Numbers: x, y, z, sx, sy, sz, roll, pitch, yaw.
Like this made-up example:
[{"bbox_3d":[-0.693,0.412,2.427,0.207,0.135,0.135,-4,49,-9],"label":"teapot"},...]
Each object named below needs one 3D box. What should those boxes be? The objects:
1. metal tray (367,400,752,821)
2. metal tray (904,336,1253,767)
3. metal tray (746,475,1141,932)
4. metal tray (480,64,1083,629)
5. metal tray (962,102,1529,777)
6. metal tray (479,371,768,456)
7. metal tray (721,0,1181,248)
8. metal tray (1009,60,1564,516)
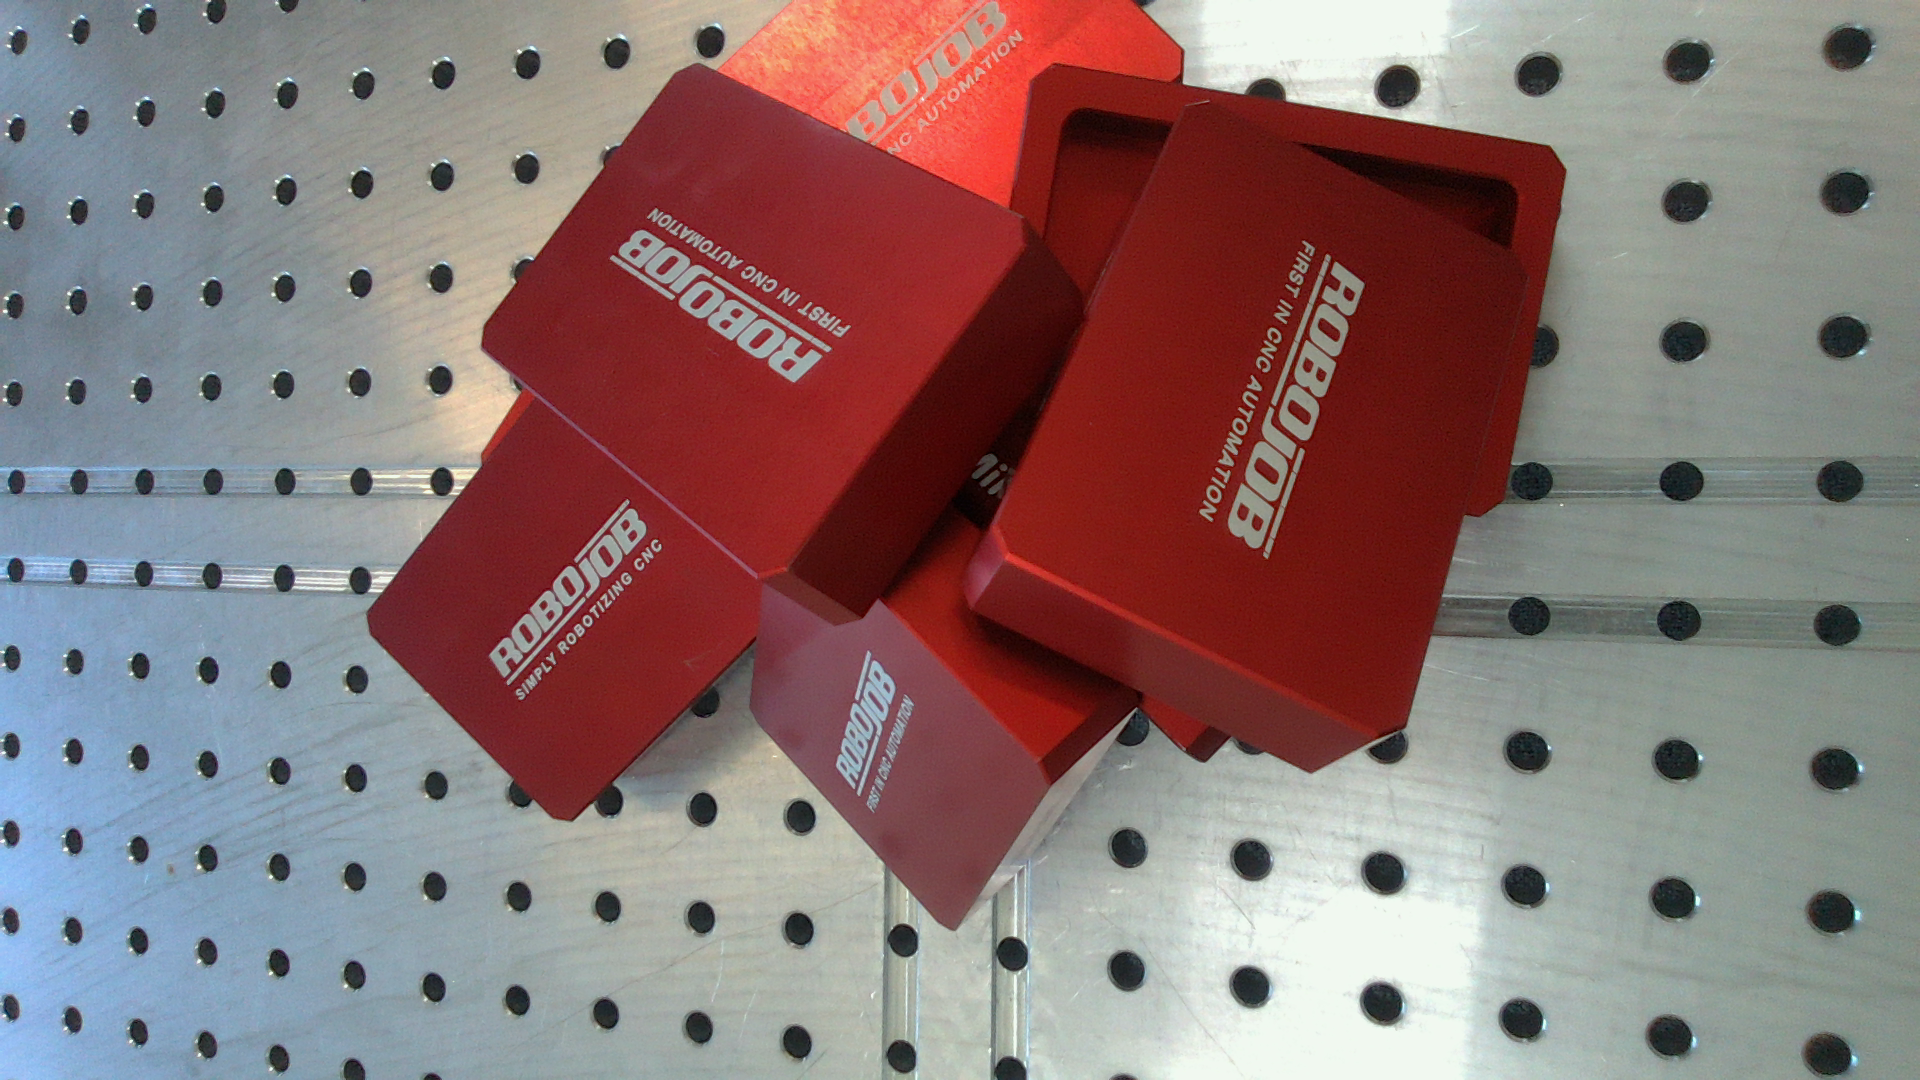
[{"bbox_3d":[-0.108,0.013,0.410,0.090,0.030,0.130,46,117,-2],"label":"metal tray"},{"bbox_3d":[0.035,-0.006,0.352,0.130,0.090,0.030,47,105,15],"label":"metal tray"},{"bbox_3d":[-0.012,0.043,0.354,0.030,0.130,0.090,-38,74,-27],"label":"metal tray"},{"bbox_3d":[-0.047,-0.050,0.319,0.130,0.030,0.090,35,88,37],"label":"metal tray"},{"bbox_3d":[0.067,-0.026,0.304,0.090,0.030,0.130,26,63,-3],"label":"metal tray"},{"bbox_3d":[-0.079,-0.046,0.424,0.090,0.030,0.130,40,103,15],"label":"metal tray"},{"bbox_3d":[-0.015,-0.112,0.381,0.130,0.030,0.090,-42,78,0],"label":"metal tray"},{"bbox_3d":[0.074,-0.061,0.345,0.130,0.030,0.090,10,93,0],"label":"metal tray"}]
